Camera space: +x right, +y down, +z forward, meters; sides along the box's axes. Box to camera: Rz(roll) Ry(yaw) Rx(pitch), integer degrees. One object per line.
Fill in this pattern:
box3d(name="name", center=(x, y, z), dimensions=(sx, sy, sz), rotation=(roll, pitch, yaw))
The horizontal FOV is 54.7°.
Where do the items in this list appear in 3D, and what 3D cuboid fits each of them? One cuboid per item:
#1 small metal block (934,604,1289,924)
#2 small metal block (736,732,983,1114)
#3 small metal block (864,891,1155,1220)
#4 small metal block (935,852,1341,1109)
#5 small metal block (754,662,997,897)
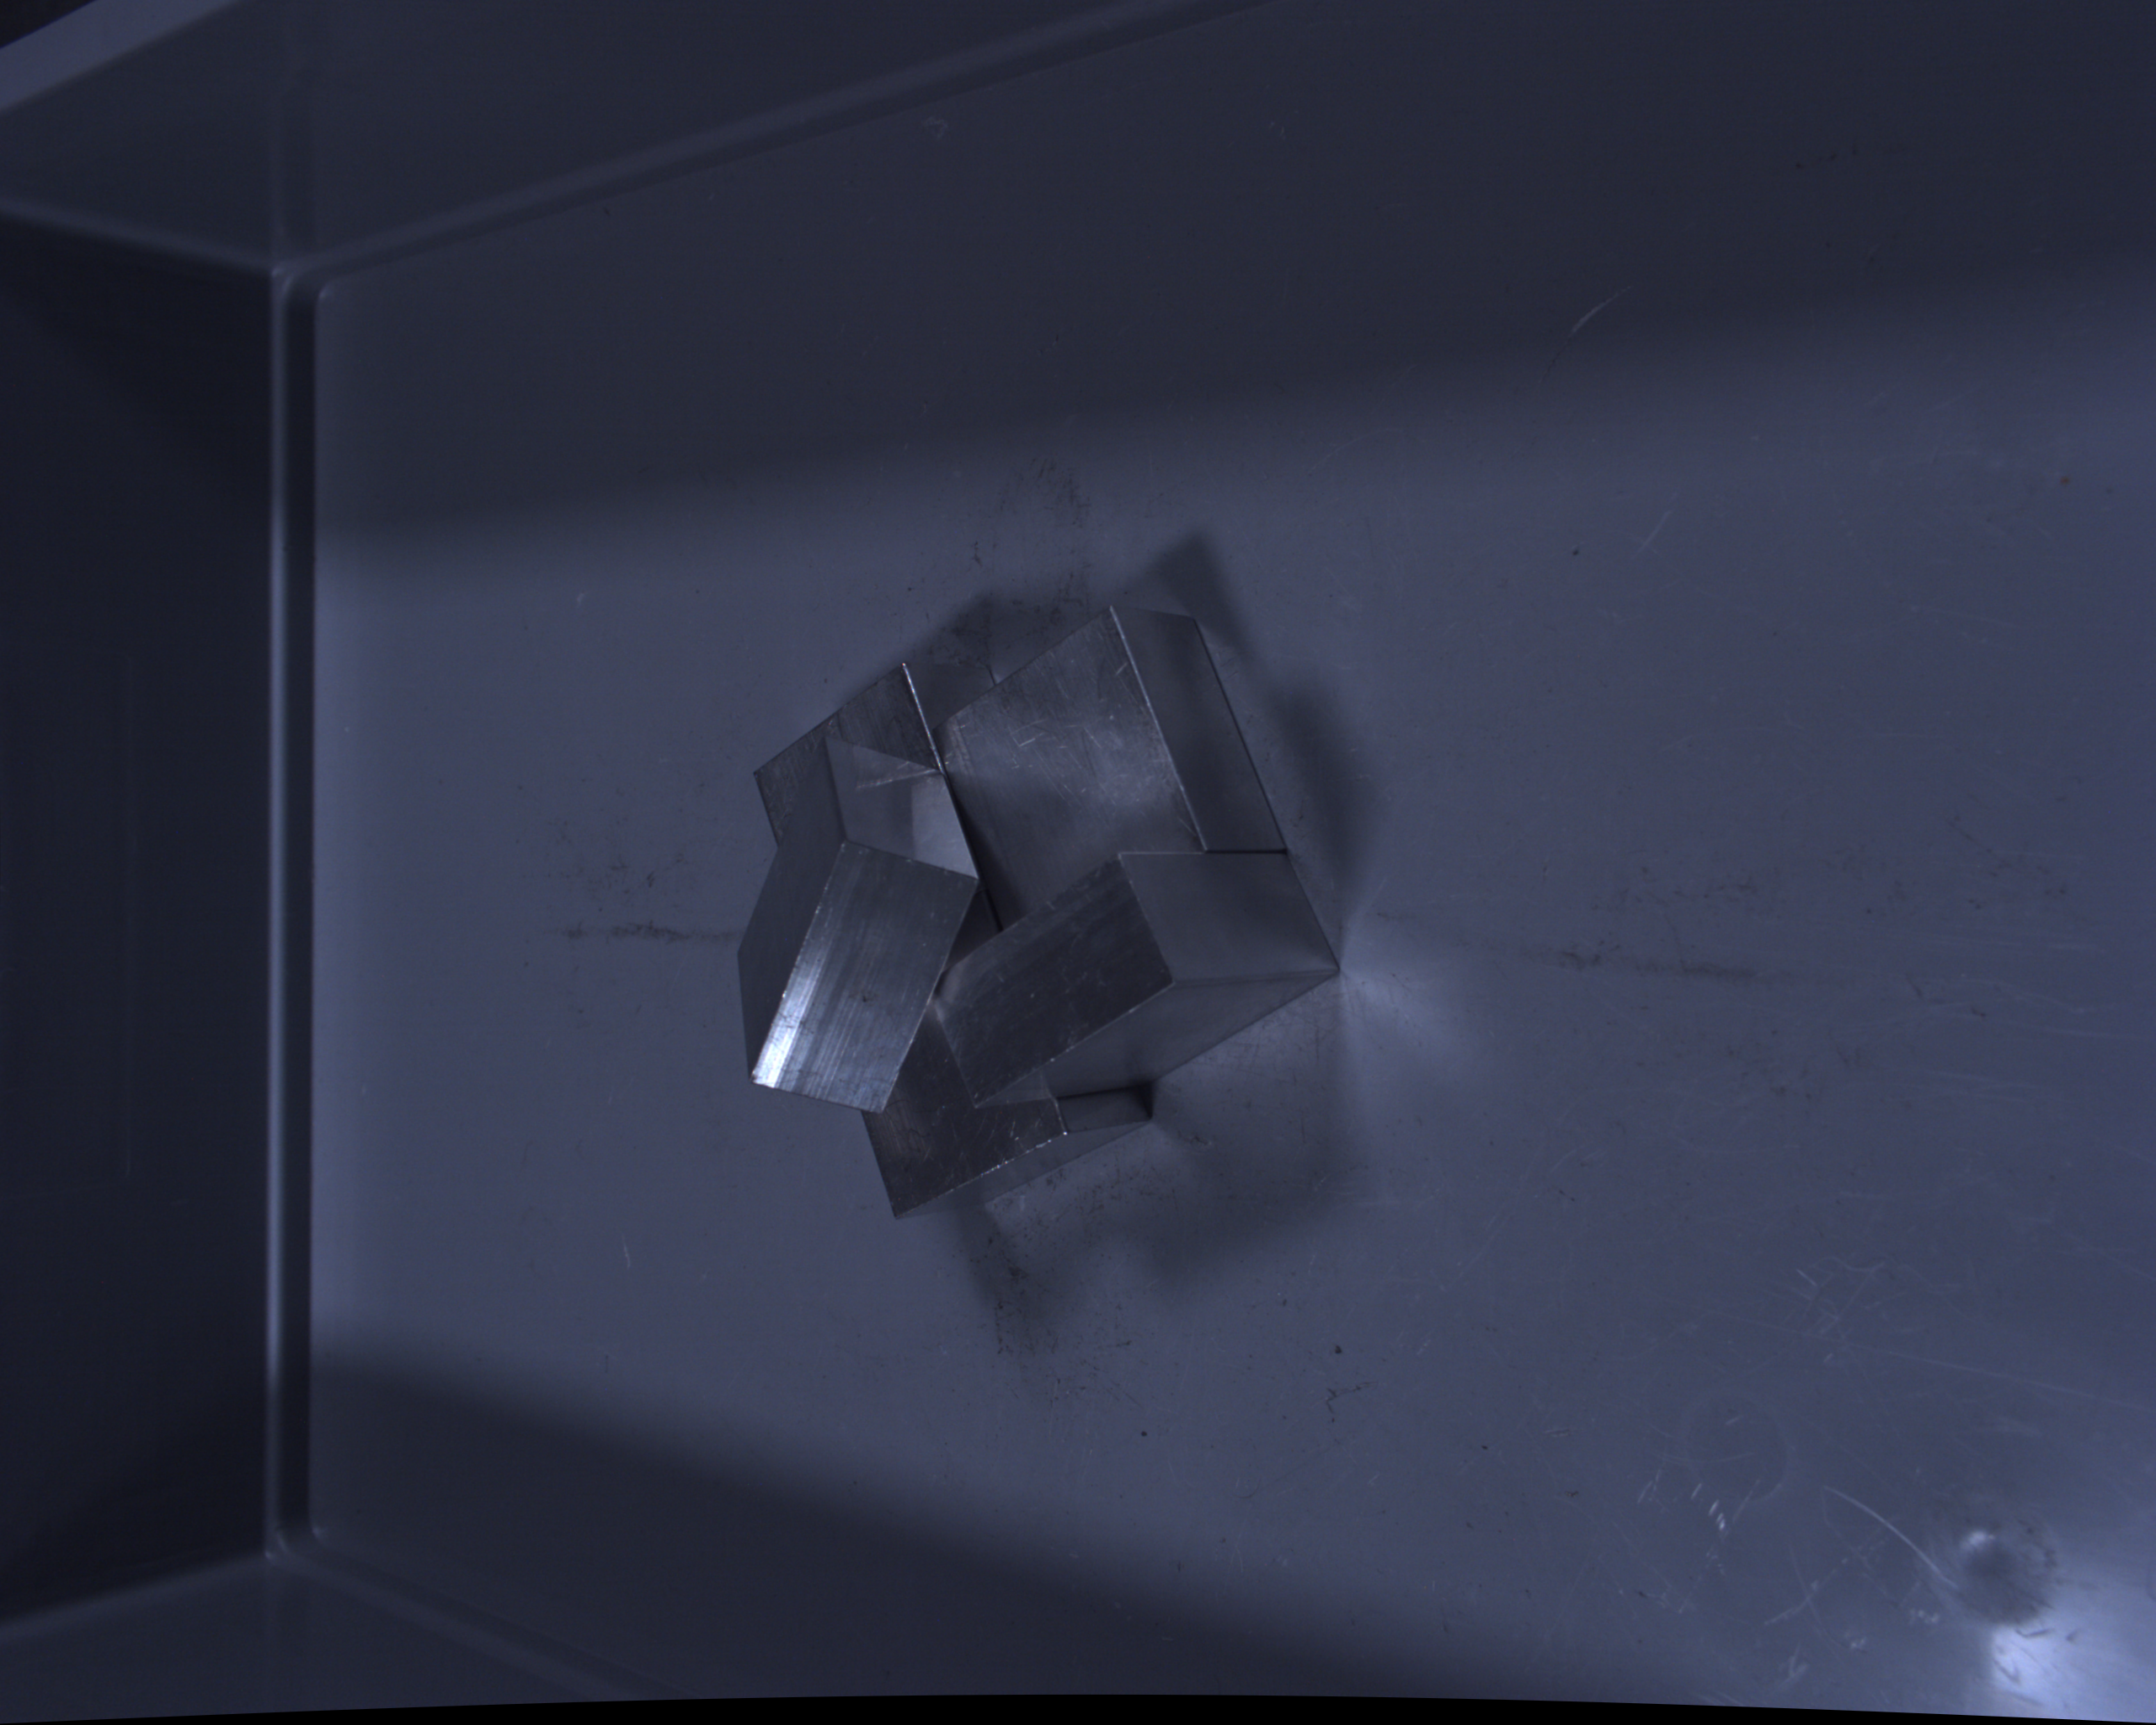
box3d(name="small metal block", center=(0.005, -0.014, 0.399), dimensions=(0.050, 0.025, 0.050), rotation=(-31, 71, 35))
box3d(name="small metal block", center=(-0.042, 0.010, 0.389), dimensions=(0.050, 0.025, 0.050), rotation=(-115, 46, -63))
box3d(name="small metal block", center=(-0.019, 0.038, 0.418), dimensions=(0.050, 0.025, 0.050), rotation=(-31, 71, 35))
box3d(name="small metal block", center=(0.010, 0.021, 0.378), dimensions=(0.050, 0.050, 0.025), rotation=(-34, 69, 34))
box3d(name="small metal block", center=(-0.035, -0.007, 0.432), dimensions=(0.050, 0.025, 0.050), rotation=(-31, 71, 35))
